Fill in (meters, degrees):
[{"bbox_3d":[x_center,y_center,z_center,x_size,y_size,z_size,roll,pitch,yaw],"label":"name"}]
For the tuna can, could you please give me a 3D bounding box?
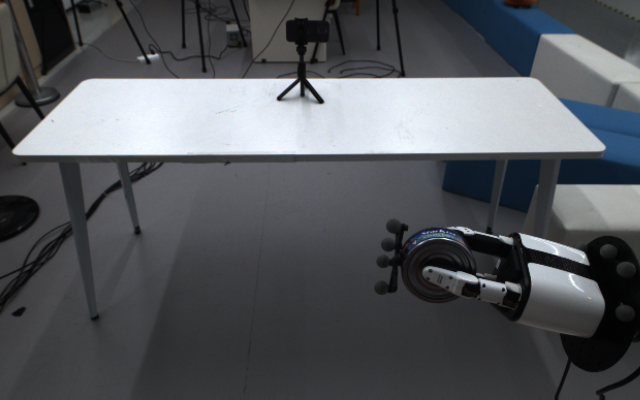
[{"bbox_3d":[0.140,0.074,0.567,0.085,0.085,0.034,4,17,3],"label":"tuna can"}]
